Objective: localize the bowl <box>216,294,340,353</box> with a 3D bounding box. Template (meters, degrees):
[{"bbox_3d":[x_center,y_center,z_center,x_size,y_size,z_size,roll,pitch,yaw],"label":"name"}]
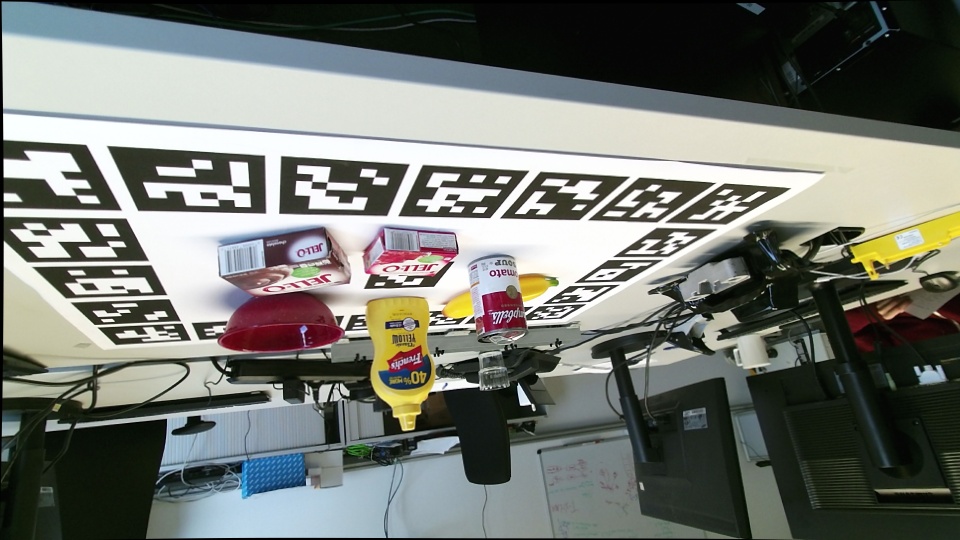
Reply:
[{"bbox_3d":[-0.278,0.070,0.738,0.162,0.055,0.162,-9,161,-3],"label":"bowl"}]

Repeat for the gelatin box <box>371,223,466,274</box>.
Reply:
[{"bbox_3d":[-0.070,-0.021,0.609,0.090,0.030,0.073,1,154,-29],"label":"gelatin box"}]

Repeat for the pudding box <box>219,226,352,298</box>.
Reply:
[{"bbox_3d":[-0.206,-0.005,0.580,0.114,0.038,0.090,-10,155,0],"label":"pudding box"}]

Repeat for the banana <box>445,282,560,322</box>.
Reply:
[{"bbox_3d":[0.024,0.051,0.841,0.198,0.038,0.074,-18,169,22],"label":"banana"}]

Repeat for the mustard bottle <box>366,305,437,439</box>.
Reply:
[{"bbox_3d":[-0.113,0.150,0.791,0.096,0.190,0.058,-1,161,-23],"label":"mustard bottle"}]

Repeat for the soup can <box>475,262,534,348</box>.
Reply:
[{"bbox_3d":[0.031,0.048,0.715,0.068,0.101,0.068,-6,161,-2],"label":"soup can"}]
